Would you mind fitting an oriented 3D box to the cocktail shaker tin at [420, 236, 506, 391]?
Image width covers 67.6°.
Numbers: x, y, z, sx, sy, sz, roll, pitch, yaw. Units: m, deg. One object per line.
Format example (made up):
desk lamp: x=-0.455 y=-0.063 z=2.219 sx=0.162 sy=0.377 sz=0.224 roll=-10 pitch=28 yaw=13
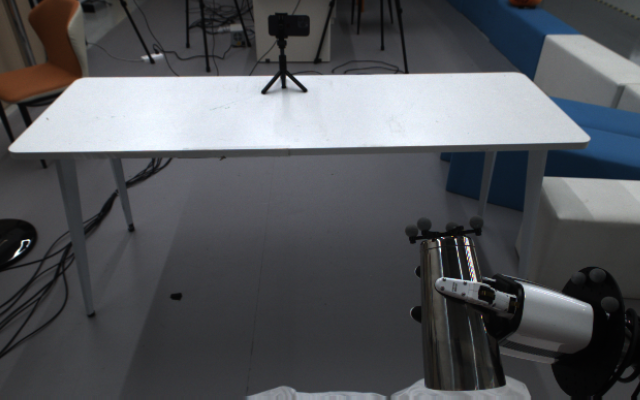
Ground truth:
cocktail shaker tin: x=0.164 y=0.134 z=0.587 sx=0.093 sy=0.093 sz=0.170 roll=-3 pitch=76 yaw=-7
